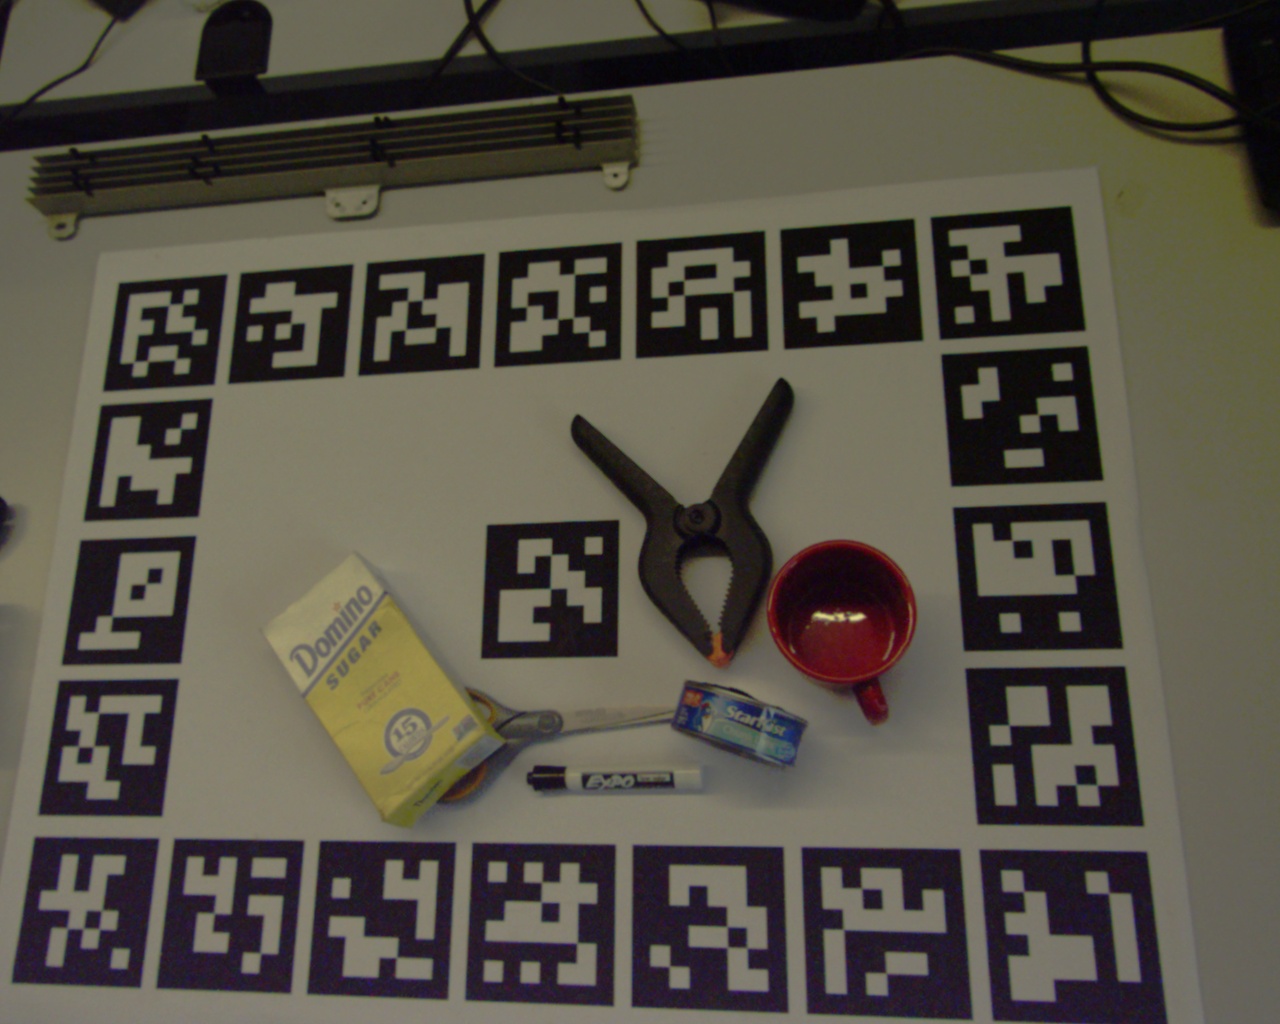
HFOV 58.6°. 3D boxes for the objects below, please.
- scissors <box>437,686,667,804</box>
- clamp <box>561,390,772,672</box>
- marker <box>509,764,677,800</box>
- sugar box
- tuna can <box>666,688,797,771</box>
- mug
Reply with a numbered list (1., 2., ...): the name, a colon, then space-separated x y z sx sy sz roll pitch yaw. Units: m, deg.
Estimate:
1. scissors: -0.080 0.155 0.833 0.203 0.016 0.088 -12 69 5
2. clamp: 0.036 0.019 0.854 0.166 0.036 0.203 -12 74 6
3. marker: -0.035 0.194 0.816 0.121 0.019 0.020 -6 75 9
4. sugar box: -0.188 0.133 0.841 0.093 0.045 0.178 -38 66 -2
5. tuna can: 0.061 0.148 0.777 0.086 0.085 0.034 15 77 13
6. mug: 0.121 0.096 0.787 0.093 0.081 0.118 -29 69 1
